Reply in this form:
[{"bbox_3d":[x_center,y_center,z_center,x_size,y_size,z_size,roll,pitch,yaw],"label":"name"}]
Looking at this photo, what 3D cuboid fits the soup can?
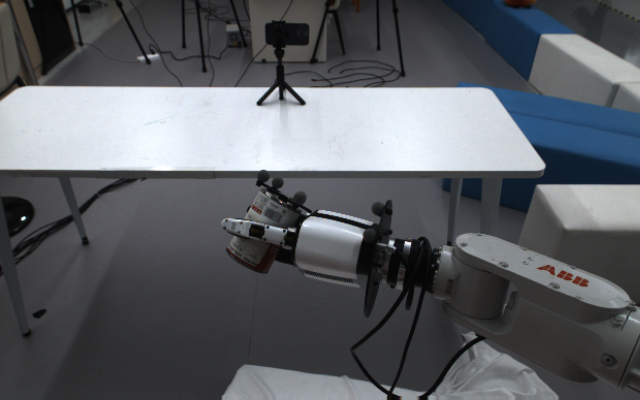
[{"bbox_3d":[-0.077,0.044,0.680,0.067,0.101,0.067,30,2,-1],"label":"soup can"}]
